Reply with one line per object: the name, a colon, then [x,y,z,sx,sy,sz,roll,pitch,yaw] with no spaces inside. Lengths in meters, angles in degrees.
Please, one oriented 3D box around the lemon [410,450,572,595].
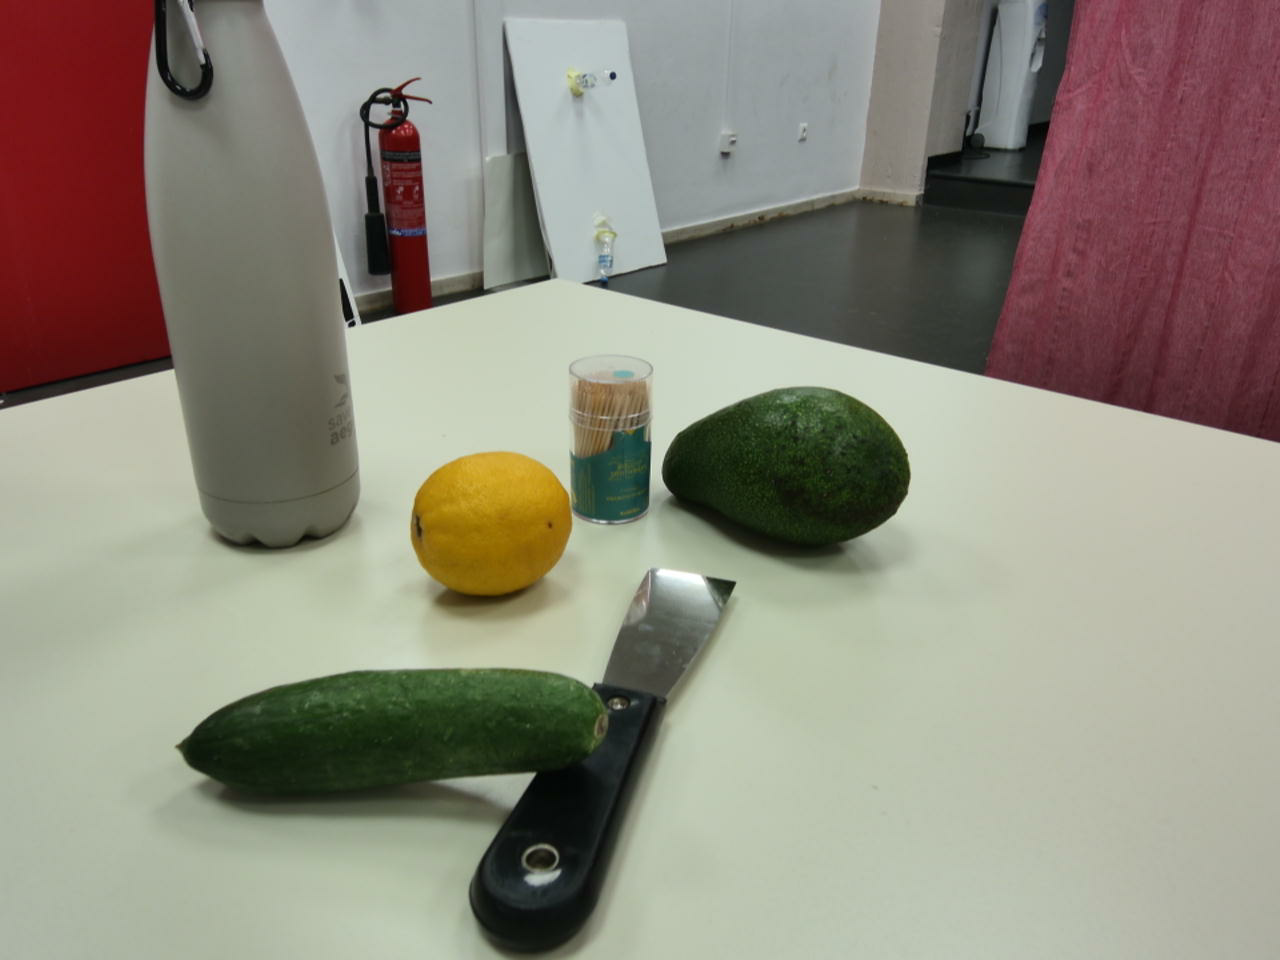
lemon: [-0.062,0.018,0.417,0.067,0.059,0.061,-3,23,-8]
